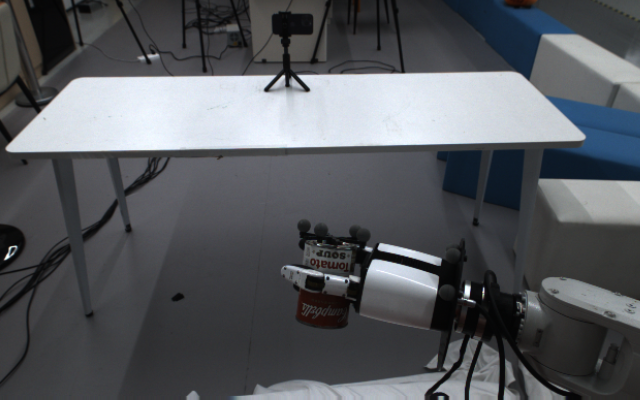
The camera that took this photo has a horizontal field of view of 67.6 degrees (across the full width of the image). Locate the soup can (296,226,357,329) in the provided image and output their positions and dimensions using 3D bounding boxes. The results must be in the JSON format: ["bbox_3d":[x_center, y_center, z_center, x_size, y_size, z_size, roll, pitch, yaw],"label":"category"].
[{"bbox_3d":[0.009,0.104,0.612,0.067,0.101,0.067,7,3,0],"label":"soup can"}]
